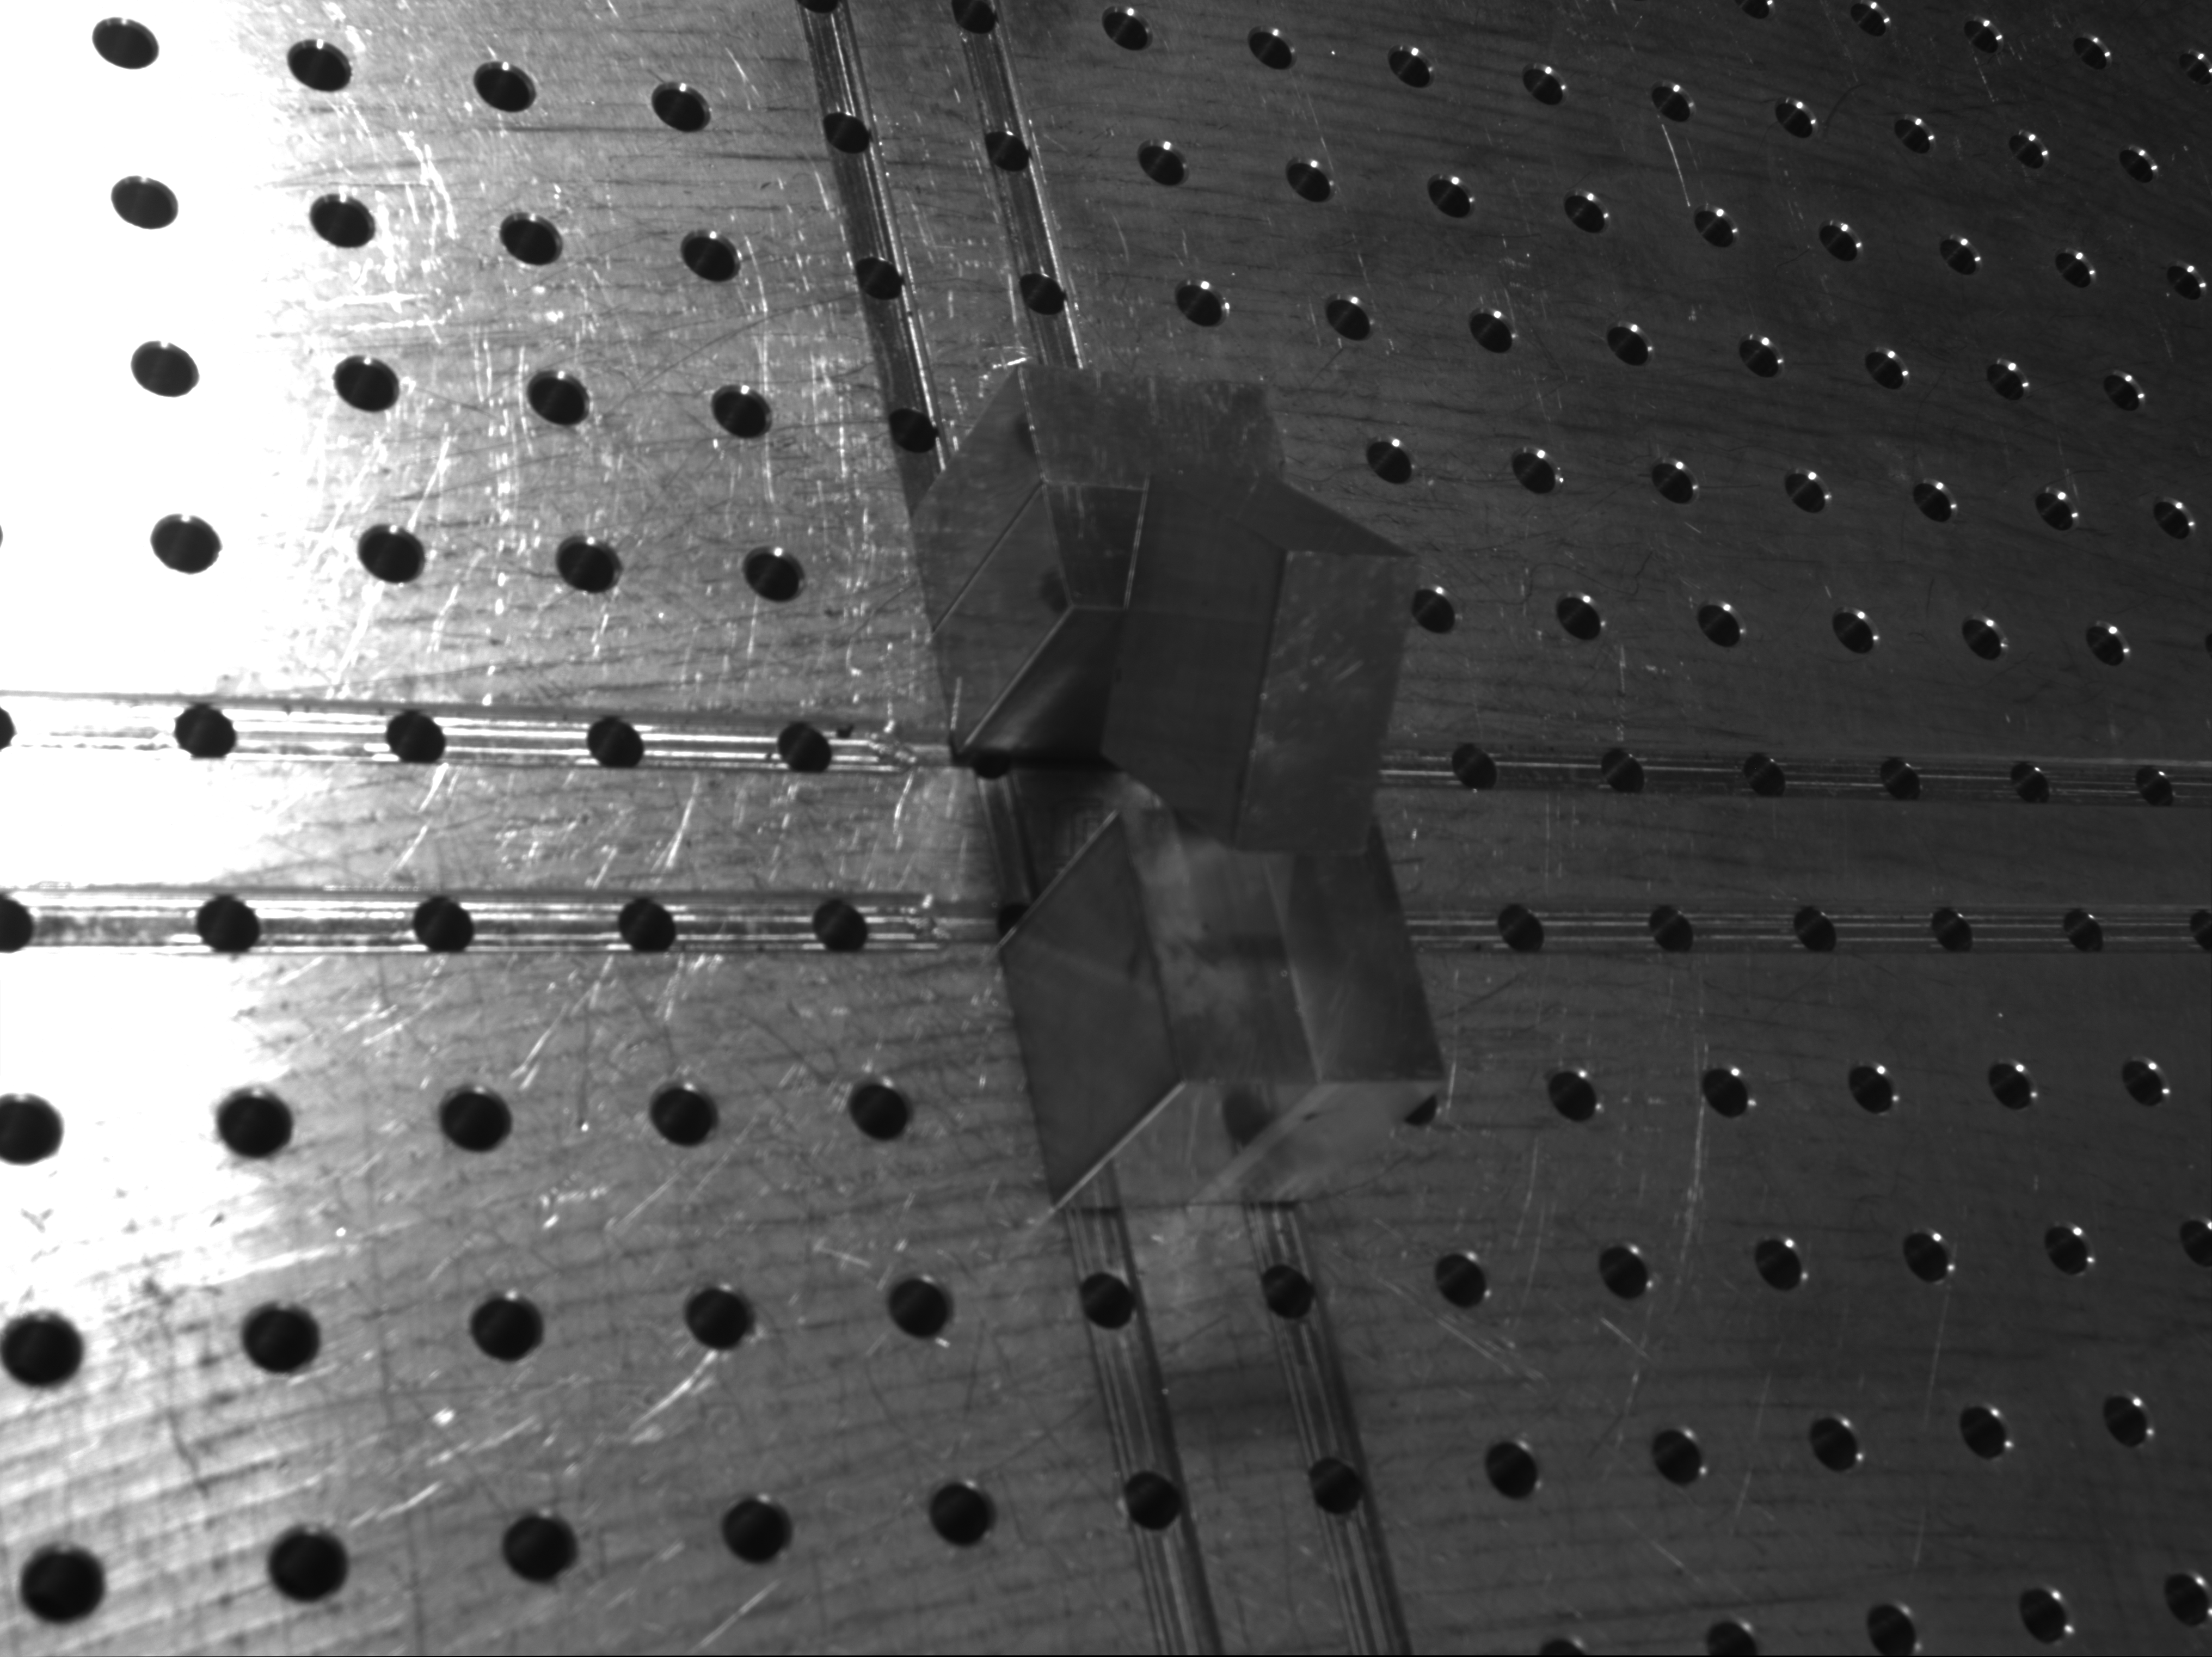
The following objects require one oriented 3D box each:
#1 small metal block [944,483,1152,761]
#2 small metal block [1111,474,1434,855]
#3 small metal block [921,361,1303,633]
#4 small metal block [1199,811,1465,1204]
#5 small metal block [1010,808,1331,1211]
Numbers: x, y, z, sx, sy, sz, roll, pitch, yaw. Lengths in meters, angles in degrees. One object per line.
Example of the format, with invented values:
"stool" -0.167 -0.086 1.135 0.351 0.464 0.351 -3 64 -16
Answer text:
"small metal block" 0.006 -0.035 0.651 0.050 0.050 0.025 2 61 -27
"small metal block" 0.027 -0.028 0.605 0.025 0.050 0.050 0 19 -27
"small metal block" 0.001 -0.058 0.662 0.050 0.050 0.025 2 61 -27
"small metal block" 0.032 0.031 0.624 0.025 0.050 0.050 2 61 -27
"small metal block" 0.010 0.031 0.613 0.025 0.050 0.050 2 61 -27
